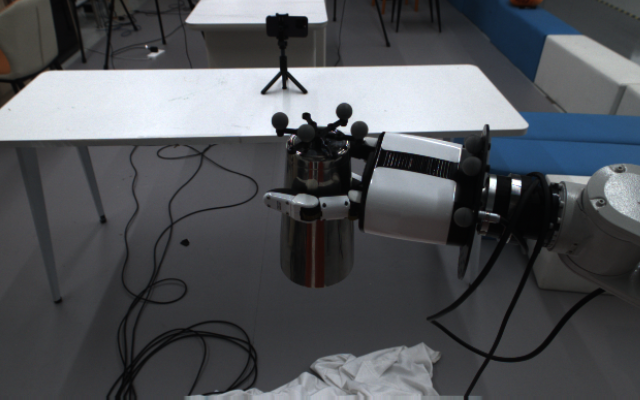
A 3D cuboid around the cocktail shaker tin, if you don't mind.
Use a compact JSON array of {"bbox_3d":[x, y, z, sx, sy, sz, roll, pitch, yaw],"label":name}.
[{"bbox_3d":[0.002,0.004,0.548,0.093,0.170,0.093,1,39,-1],"label":"cocktail shaker tin"}]
